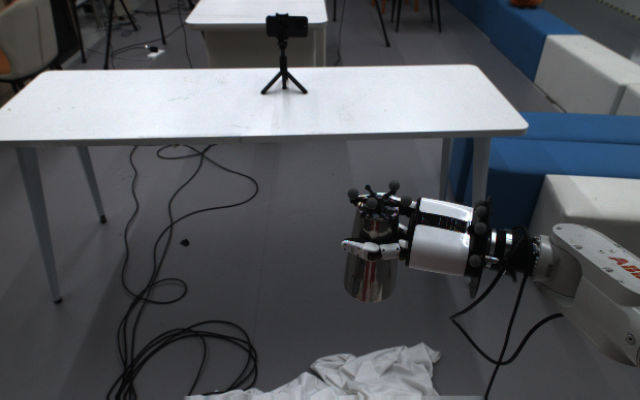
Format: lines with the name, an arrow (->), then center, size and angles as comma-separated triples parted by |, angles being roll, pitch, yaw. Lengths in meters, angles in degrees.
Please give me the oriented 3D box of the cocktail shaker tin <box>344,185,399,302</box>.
cocktail shaker tin -> 0.091, 0.073, 0.796 | 0.093, 0.170, 0.093 | 1, 39, -1
